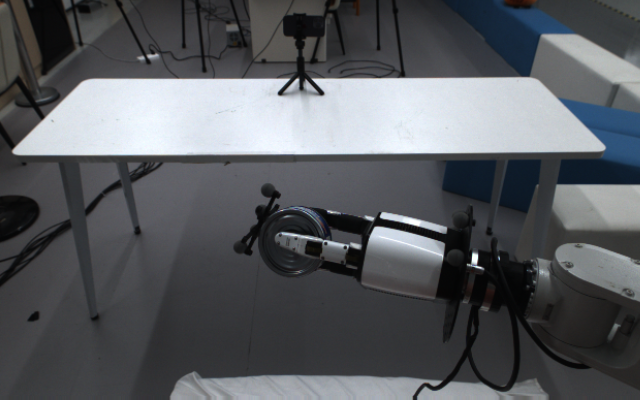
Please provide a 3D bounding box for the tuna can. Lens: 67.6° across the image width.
[{"bbox_3d":[-0.027,0.053,0.584,0.085,0.085,0.034,10,4,11],"label":"tuna can"}]
